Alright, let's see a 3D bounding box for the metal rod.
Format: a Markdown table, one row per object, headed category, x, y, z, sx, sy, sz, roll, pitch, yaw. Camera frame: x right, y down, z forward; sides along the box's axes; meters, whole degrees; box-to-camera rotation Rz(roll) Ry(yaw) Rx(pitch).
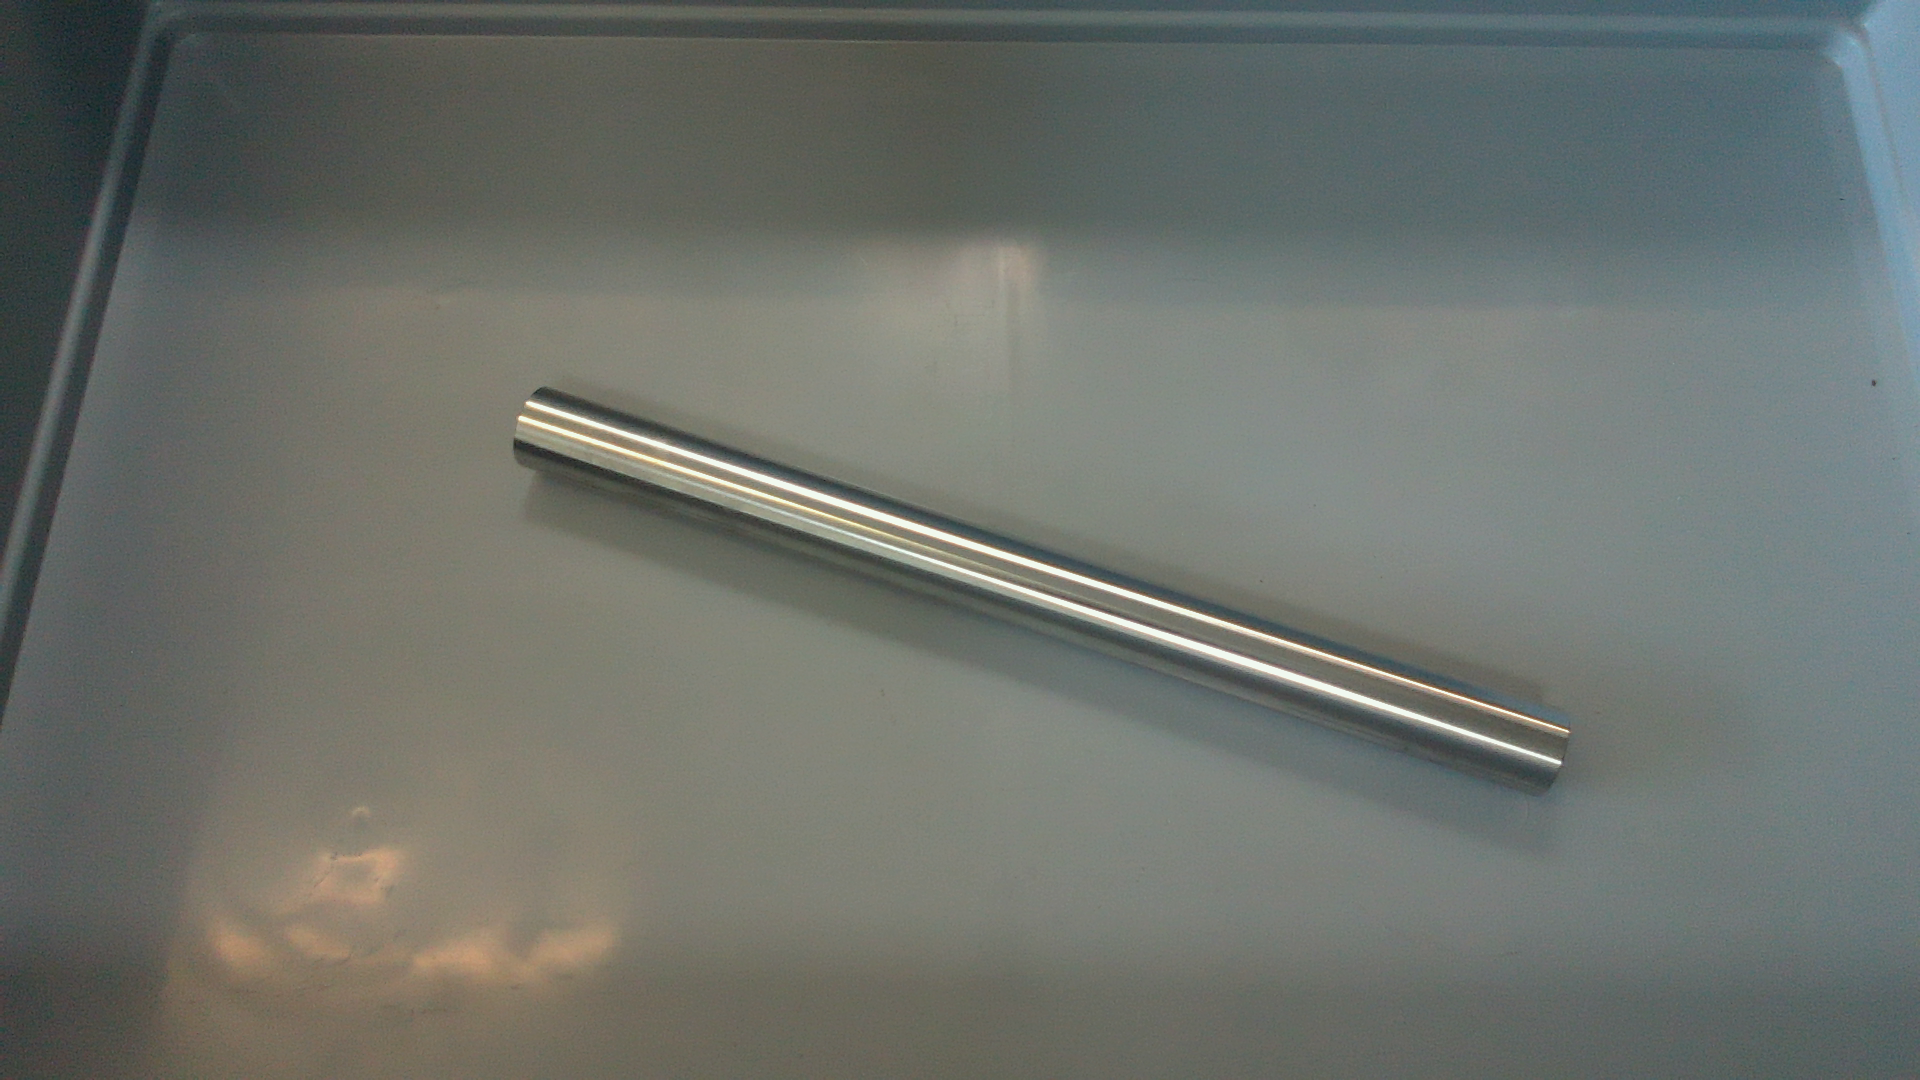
| category | x | y | z | sx | sy | sz | roll | pitch | yaw |
| --- | --- | --- | --- | --- | --- | --- | --- | --- | --- |
| metal rod | 0.016 | 0.012 | 0.389 | 0.300 | 0.025 | 0.025 | 18 | 71 | 6 |
